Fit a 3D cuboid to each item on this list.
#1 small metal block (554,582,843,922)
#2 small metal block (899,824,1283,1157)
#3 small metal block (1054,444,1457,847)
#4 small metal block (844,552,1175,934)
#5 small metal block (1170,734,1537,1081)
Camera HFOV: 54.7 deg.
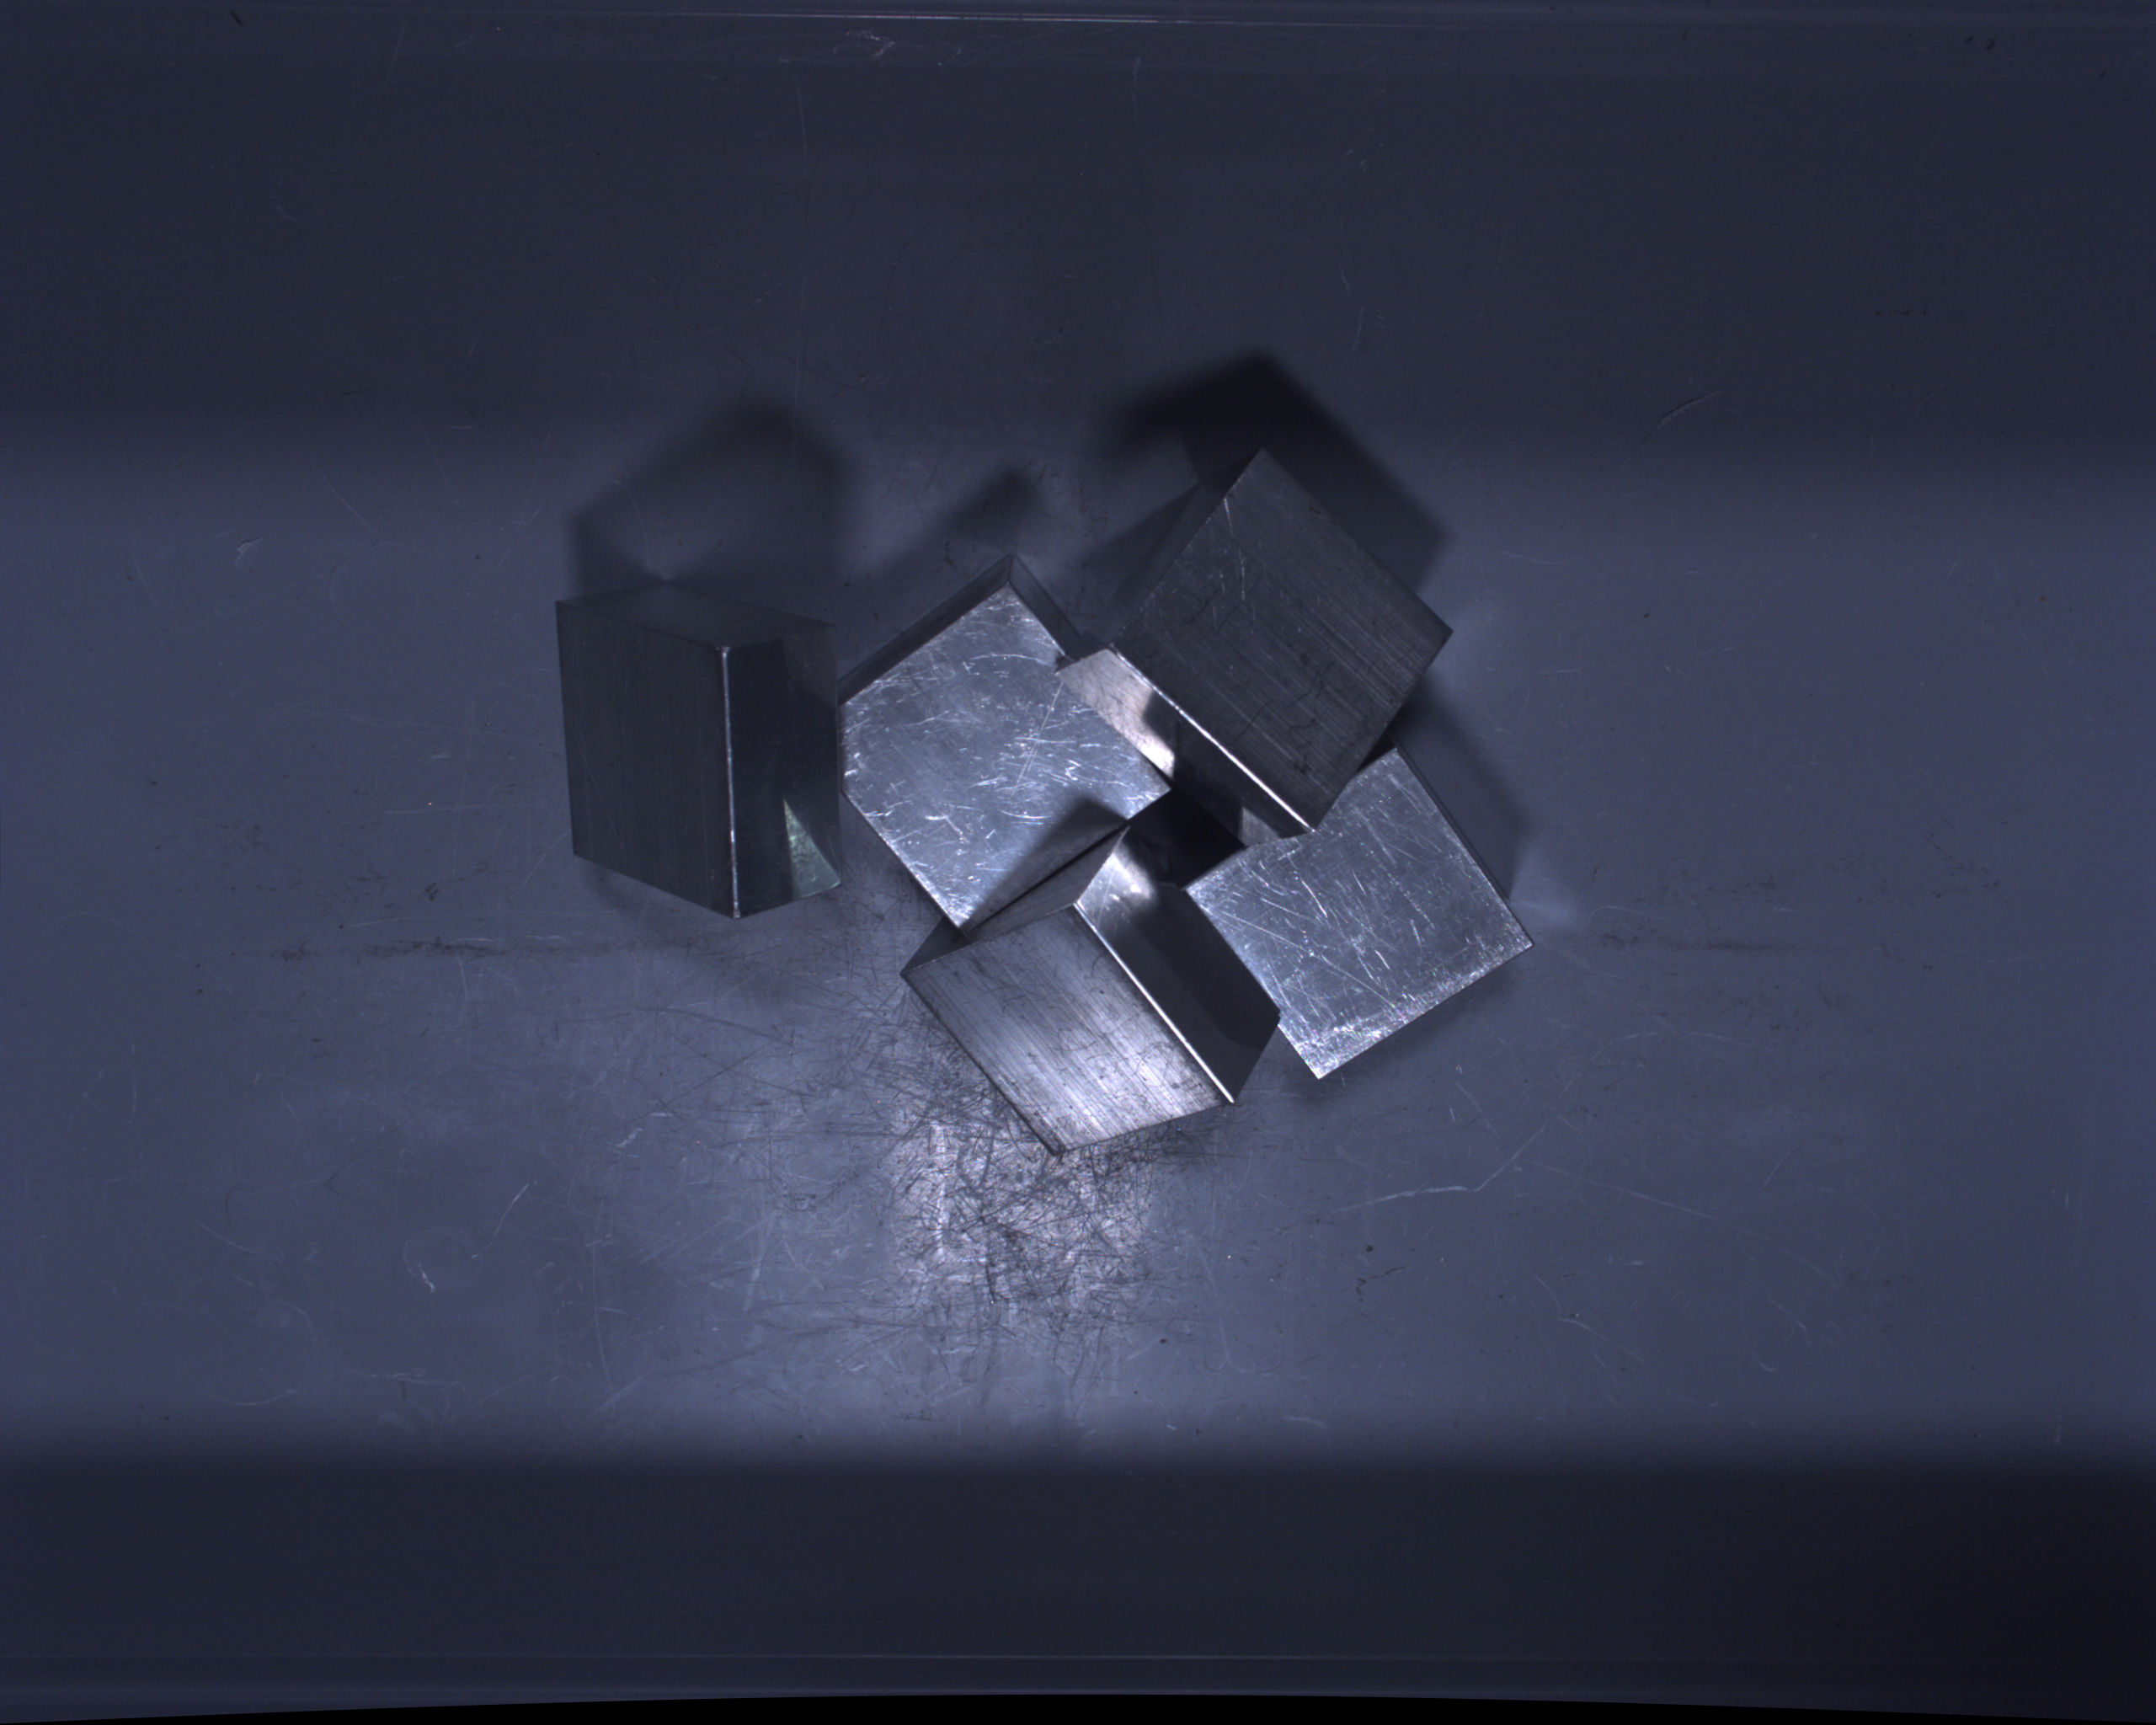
[{"bbox_3d":[-0.070,-0.022,0.386,0.050,0.025,0.050,18,116,40],"label":"small metal block"},{"bbox_3d":[0.002,0.026,0.407,0.050,0.025,0.050,-23,112,41],"label":"small metal block"},{"bbox_3d":[0.033,-0.039,0.383,0.050,0.025,0.050,41,70,-14],"label":"small metal block"},{"bbox_3d":[-0.017,-0.023,0.401,0.050,0.025,0.050,-36,107,12],"label":"small metal block"},{"bbox_3d":[0.054,0.006,0.413,0.050,0.025,0.050,-34,107,11],"label":"small metal block"}]
